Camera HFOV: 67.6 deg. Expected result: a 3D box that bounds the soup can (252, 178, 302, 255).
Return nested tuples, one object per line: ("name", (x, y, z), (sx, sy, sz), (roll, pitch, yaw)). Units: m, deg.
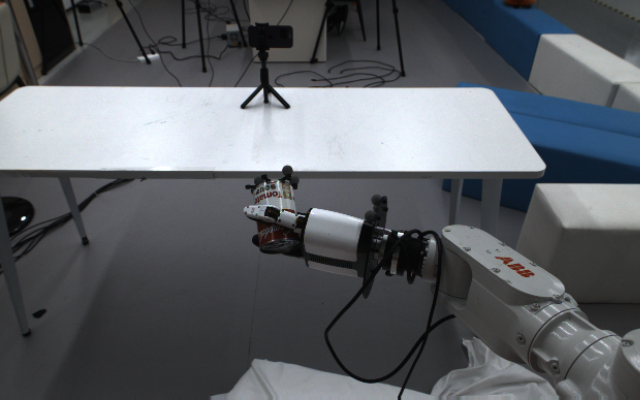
("soup can", (-0.069, 0.029, 0.776), (0.067, 0.067, 0.101), (-6, 67, -12))
